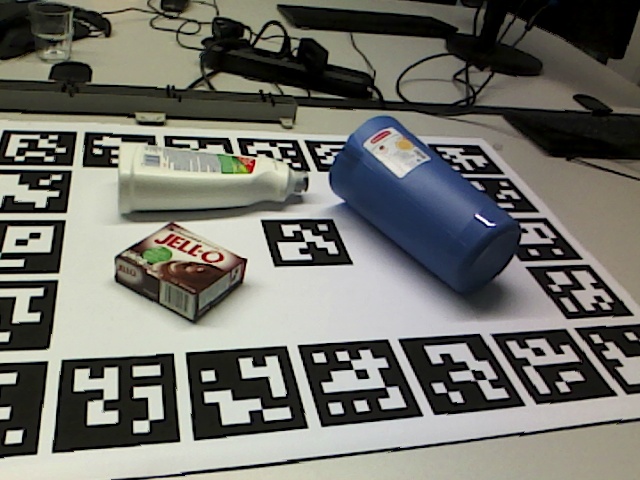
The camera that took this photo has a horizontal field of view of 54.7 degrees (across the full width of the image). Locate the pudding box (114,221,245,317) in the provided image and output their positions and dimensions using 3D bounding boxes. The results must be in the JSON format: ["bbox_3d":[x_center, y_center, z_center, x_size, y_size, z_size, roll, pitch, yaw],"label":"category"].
[{"bbox_3d":[-0.156,0.030,0.688,0.114,0.038,0.089,28,33,19],"label":"pudding box"}]

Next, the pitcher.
[{"bbox_3d":[0.138,-0.032,0.816,0.244,0.133,0.187,46,13,32],"label":"pitcher"}]

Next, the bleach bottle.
[{"bbox_3d":[-0.139,-0.082,0.834,0.249,0.068,0.103,-1,42,-20],"label":"bleach bottle"}]
